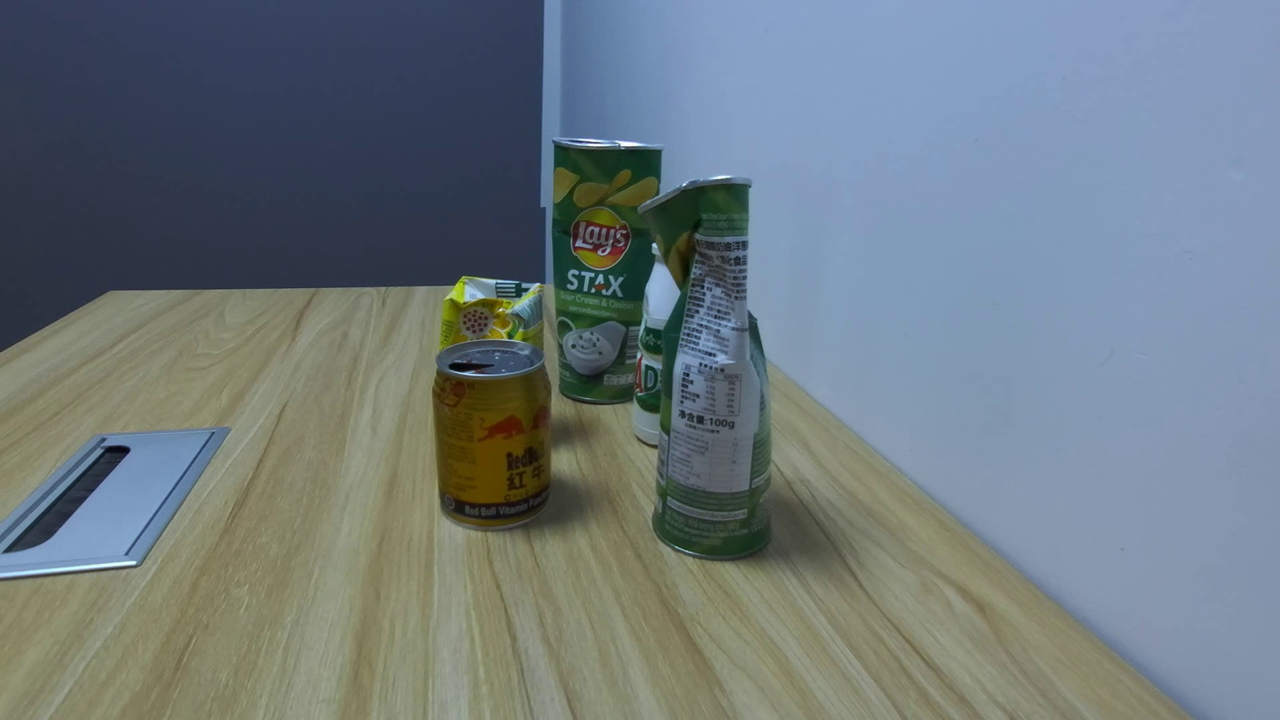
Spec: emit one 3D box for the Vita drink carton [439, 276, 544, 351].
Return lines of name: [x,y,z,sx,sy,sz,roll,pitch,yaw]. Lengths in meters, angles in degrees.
Vita drink carton: [-0.104,0.001,0.492,0.071,0.109,0.046,7,20,12]

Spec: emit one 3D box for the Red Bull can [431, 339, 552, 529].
Red Bull can: [-0.085,0.041,0.409,0.067,0.093,0.067,2,21,-1]

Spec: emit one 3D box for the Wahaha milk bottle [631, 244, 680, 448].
Wahaha milk bottle: [0.021,-0.016,0.549,0.055,0.149,0.055,1,21,0]

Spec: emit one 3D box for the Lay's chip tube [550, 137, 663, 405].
Lay's chip tube: [-0.030,-0.069,0.560,0.075,0.199,0.068,-3,20,-16]

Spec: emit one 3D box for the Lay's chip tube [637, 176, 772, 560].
Lay's chip tube: [0.035,0.004,0.376,0.071,0.199,0.079,2,17,19]
